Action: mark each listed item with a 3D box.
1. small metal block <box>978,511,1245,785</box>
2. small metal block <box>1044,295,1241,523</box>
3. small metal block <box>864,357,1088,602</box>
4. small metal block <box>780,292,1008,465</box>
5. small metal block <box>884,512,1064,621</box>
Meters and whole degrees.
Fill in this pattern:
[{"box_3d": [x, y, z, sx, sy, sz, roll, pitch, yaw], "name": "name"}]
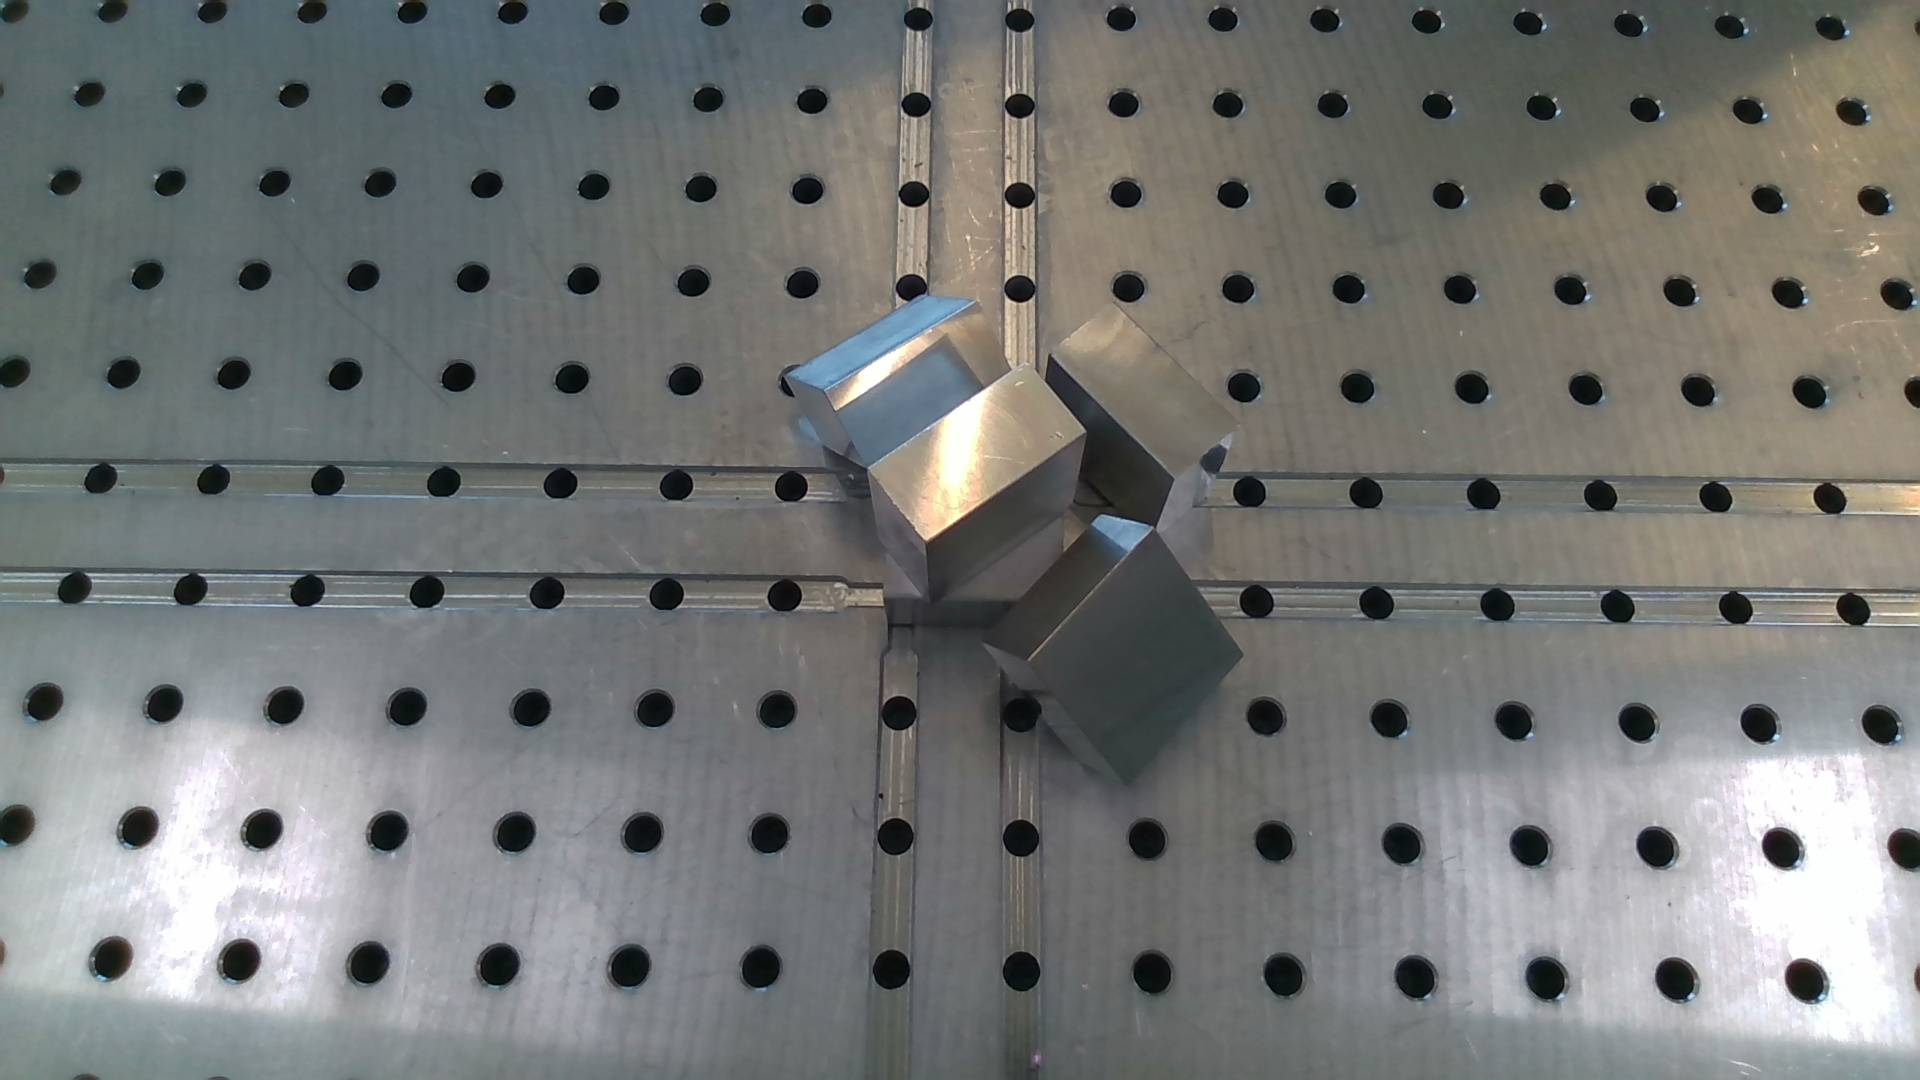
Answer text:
[{"box_3d": [0.042, 0.029, 0.373, 0.050, 0.025, 0.050, -46, 116, -14], "name": "small metal block"}, {"box_3d": [0.050, -0.034, 0.397, 0.025, 0.050, 0.050, -40, 75, -13], "name": "small metal block"}, {"box_3d": [0.004, -0.015, 0.363, 0.050, 0.050, 0.025, -35, 75, -11], "name": "small metal block"}, {"box_3d": [-0.019, -0.049, 0.399, 0.050, 0.050, 0.025, -32, 111, -11], "name": "small metal block"}, {"box_3d": [0.004, -0.003, 0.399, 0.050, 0.025, 0.050, 0, 72, 0], "name": "small metal block"}]
